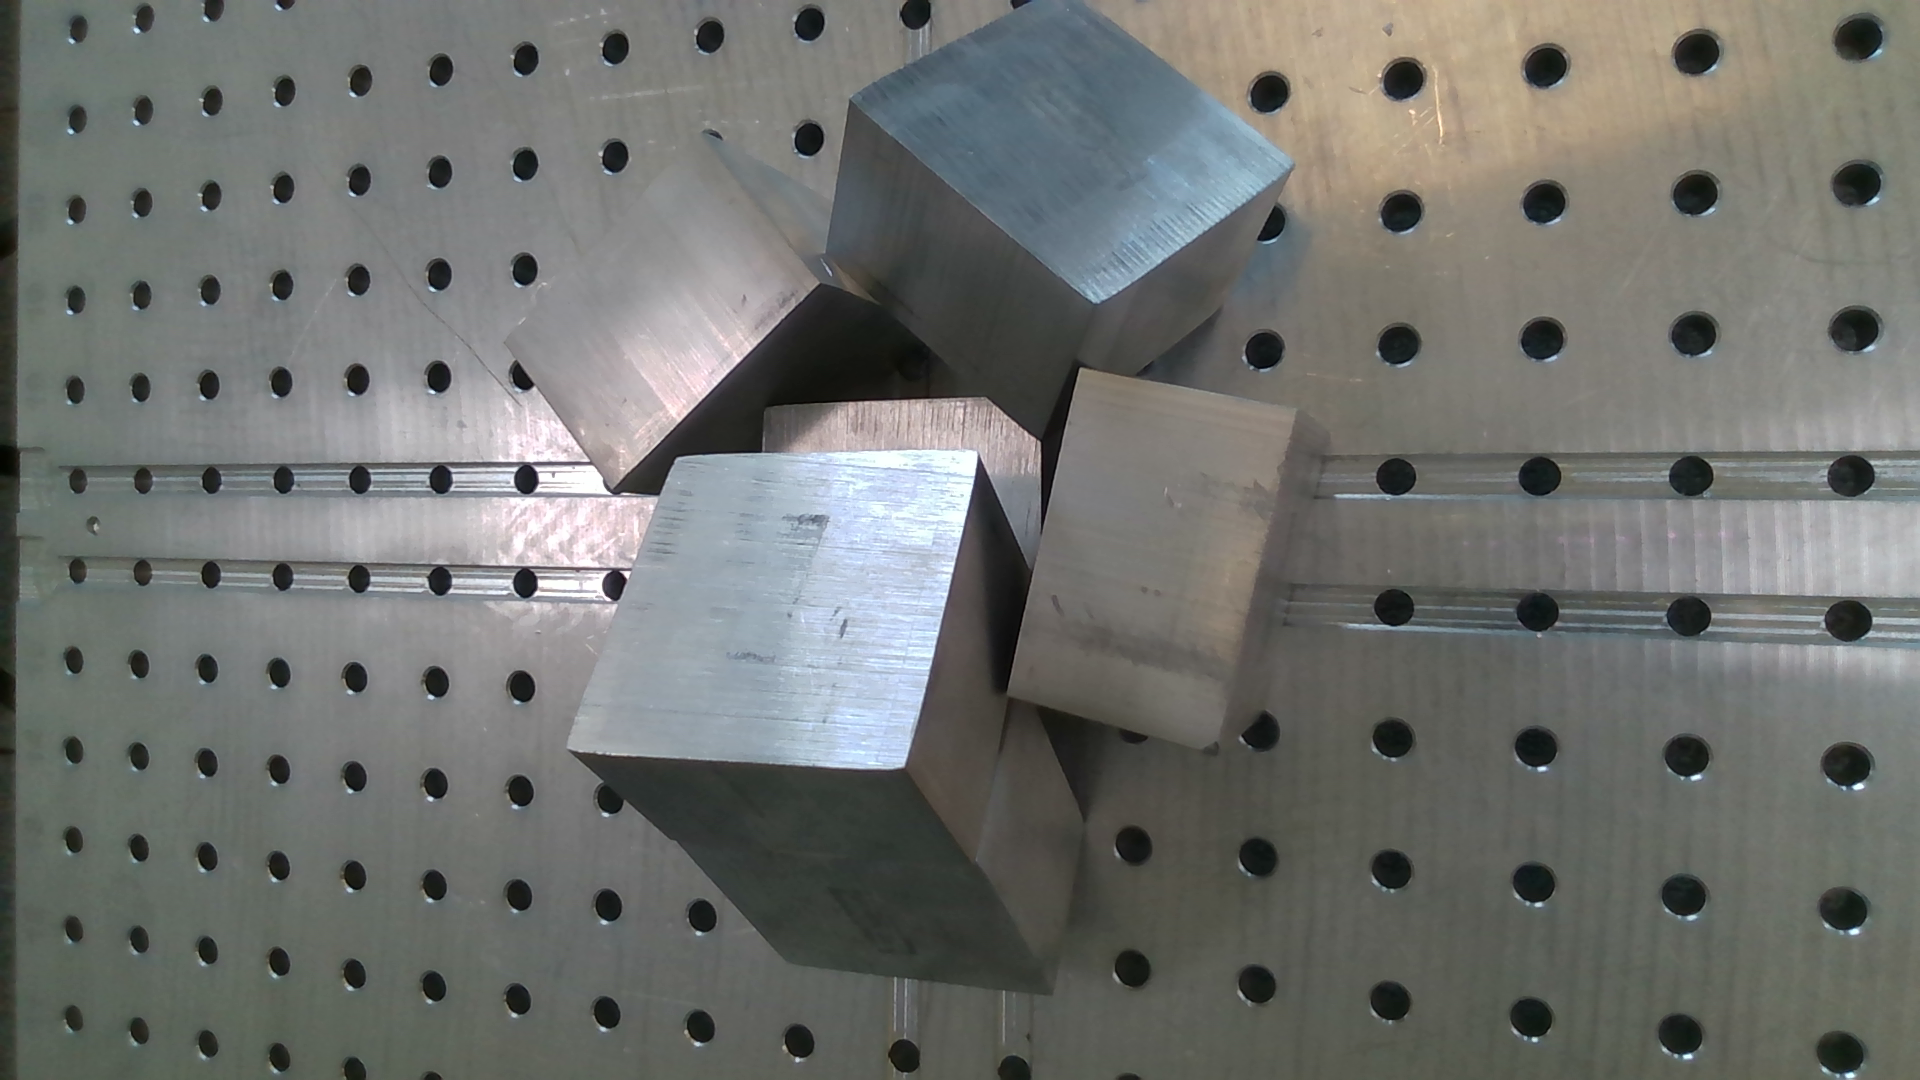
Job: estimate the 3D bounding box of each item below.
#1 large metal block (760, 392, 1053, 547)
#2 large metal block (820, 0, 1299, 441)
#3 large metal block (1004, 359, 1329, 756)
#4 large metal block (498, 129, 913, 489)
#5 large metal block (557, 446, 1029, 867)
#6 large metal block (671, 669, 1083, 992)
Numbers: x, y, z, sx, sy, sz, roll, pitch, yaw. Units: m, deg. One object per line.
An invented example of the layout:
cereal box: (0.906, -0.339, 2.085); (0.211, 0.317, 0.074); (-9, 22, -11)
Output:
large metal block: (-0.009, 0.002, 0.386); (0.080, 0.050, 0.080); (1, 91, 20)
large metal block: (0.024, -0.085, 0.351); (0.080, 0.080, 0.050); (43, 148, 15)
large metal block: (0.055, 0.003, 0.347); (0.050, 0.080, 0.080); (14, 95, 19)
large metal block: (-0.066, -0.059, 0.389); (0.080, 0.080, 0.050); (-42, 77, 16)
large metal block: (-0.034, 0.026, 0.322); (0.080, 0.050, 0.080); (1, 56, 19)
large metal block: (-0.018, 0.077, 0.365); (0.080, 0.080, 0.050); (0, 53, 20)
